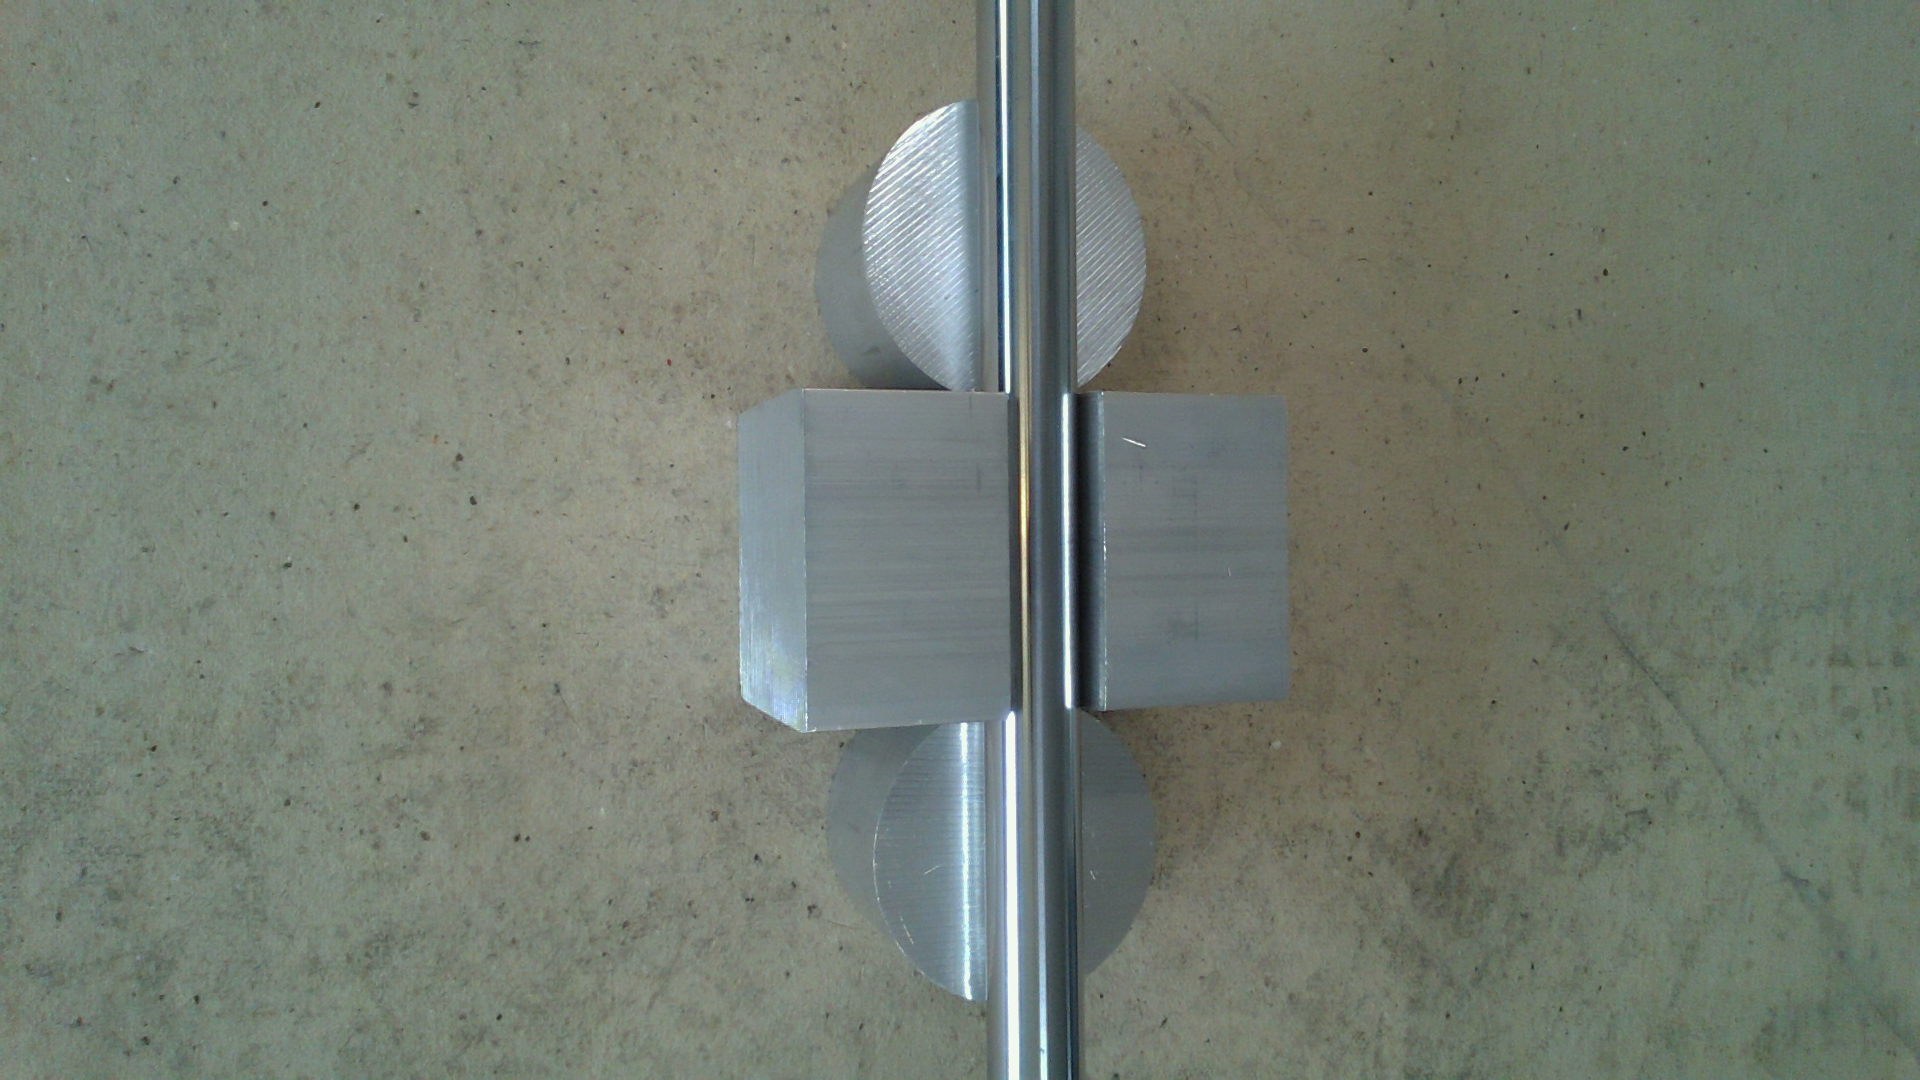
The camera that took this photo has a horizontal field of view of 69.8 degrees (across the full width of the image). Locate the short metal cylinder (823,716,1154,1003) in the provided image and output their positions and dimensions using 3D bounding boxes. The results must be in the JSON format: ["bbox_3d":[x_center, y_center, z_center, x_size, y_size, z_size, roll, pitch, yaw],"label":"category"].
[{"bbox_3d":[0.007,0.082,0.384,0.080,0.050,0.080,0,89,-20],"label":"short metal cylinder"}]

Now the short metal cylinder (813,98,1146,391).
[{"bbox_3d":[0.004,-0.075,0.382,0.080,0.050,0.080,0,89,-20],"label":"short metal cylinder"}]

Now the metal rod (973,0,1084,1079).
[{"bbox_3d":[0.017,0.015,0.346,0.025,0.025,0.300,-1,90,-20],"label":"metal rod"}]

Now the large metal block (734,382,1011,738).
[{"bbox_3d":[-0.025,0.004,0.355,0.050,0.080,0.080,-1,90,-20],"label":"large metal block"}]

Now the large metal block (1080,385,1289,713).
[{"bbox_3d":[0.047,0.002,0.381,0.050,0.080,0.080,-1,90,-20],"label":"large metal block"}]
